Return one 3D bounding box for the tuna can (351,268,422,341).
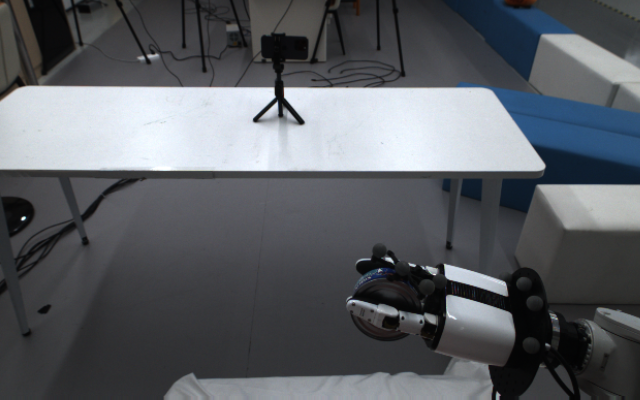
[{"bbox_3d":[0.084,0.127,0.593,0.085,0.085,0.034,7,16,7],"label":"tuna can"}]
